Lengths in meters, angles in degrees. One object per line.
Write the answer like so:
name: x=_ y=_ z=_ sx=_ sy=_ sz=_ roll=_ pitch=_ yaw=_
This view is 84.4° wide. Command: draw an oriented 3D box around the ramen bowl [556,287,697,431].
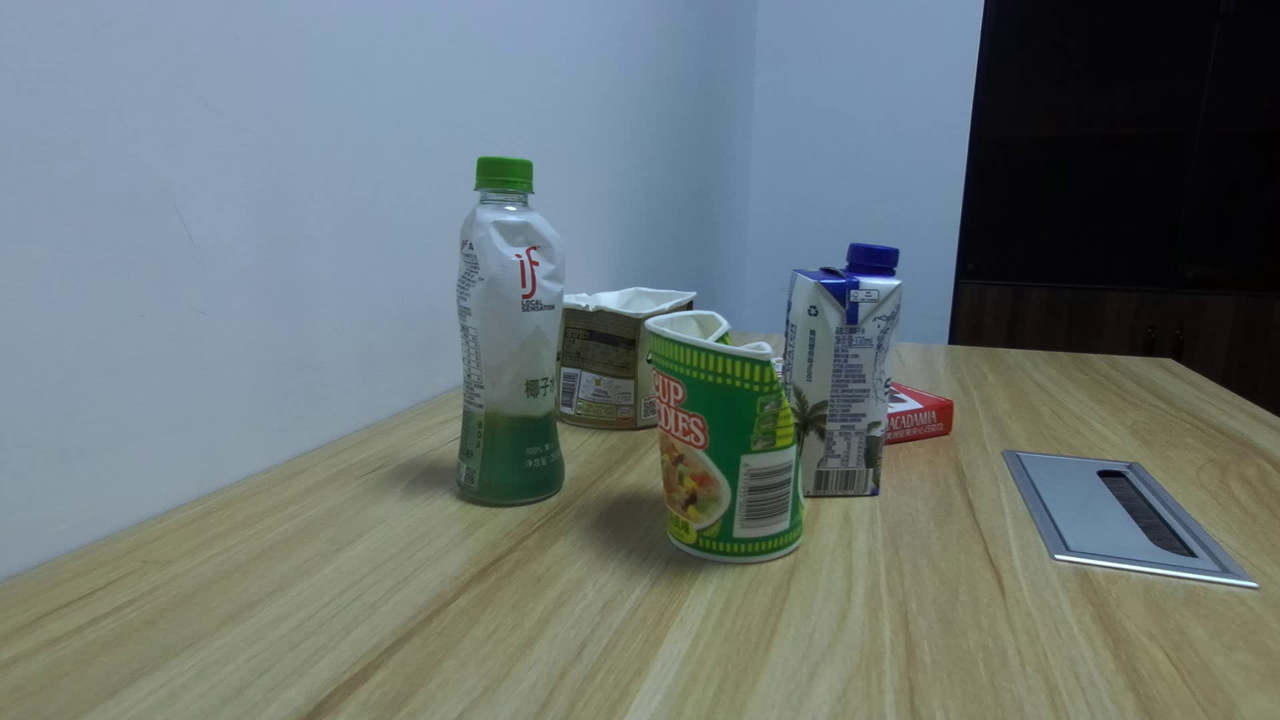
ramen bowl: x=-0.012 y=-0.009 z=0.581 sx=0.113 sy=0.097 sz=0.134 roll=9 pitch=15 yaw=30

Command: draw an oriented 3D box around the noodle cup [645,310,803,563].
noodle cup: x=0.046 y=0.035 z=0.352 sx=0.075 sy=0.122 sz=0.083 roll=-1 pitch=20 yaw=26

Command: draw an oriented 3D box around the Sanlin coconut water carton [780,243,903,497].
Sanlin coconut water carton: x=0.116 y=0.005 z=0.417 sx=0.061 sy=0.144 sz=0.060 roll=-1 pitch=14 yaw=-5

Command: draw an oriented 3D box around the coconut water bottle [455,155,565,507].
coconut water bottle: x=-0.074 y=-0.018 z=0.402 sx=0.067 sy=0.187 sz=0.067 roll=1 pitch=11 yaw=0

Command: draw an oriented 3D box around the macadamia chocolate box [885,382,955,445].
macadamia chocolate box: x=0.158 y=0.028 z=0.586 sx=0.096 sy=0.027 sz=0.177 roll=-6 pitch=15 yaw=-21
